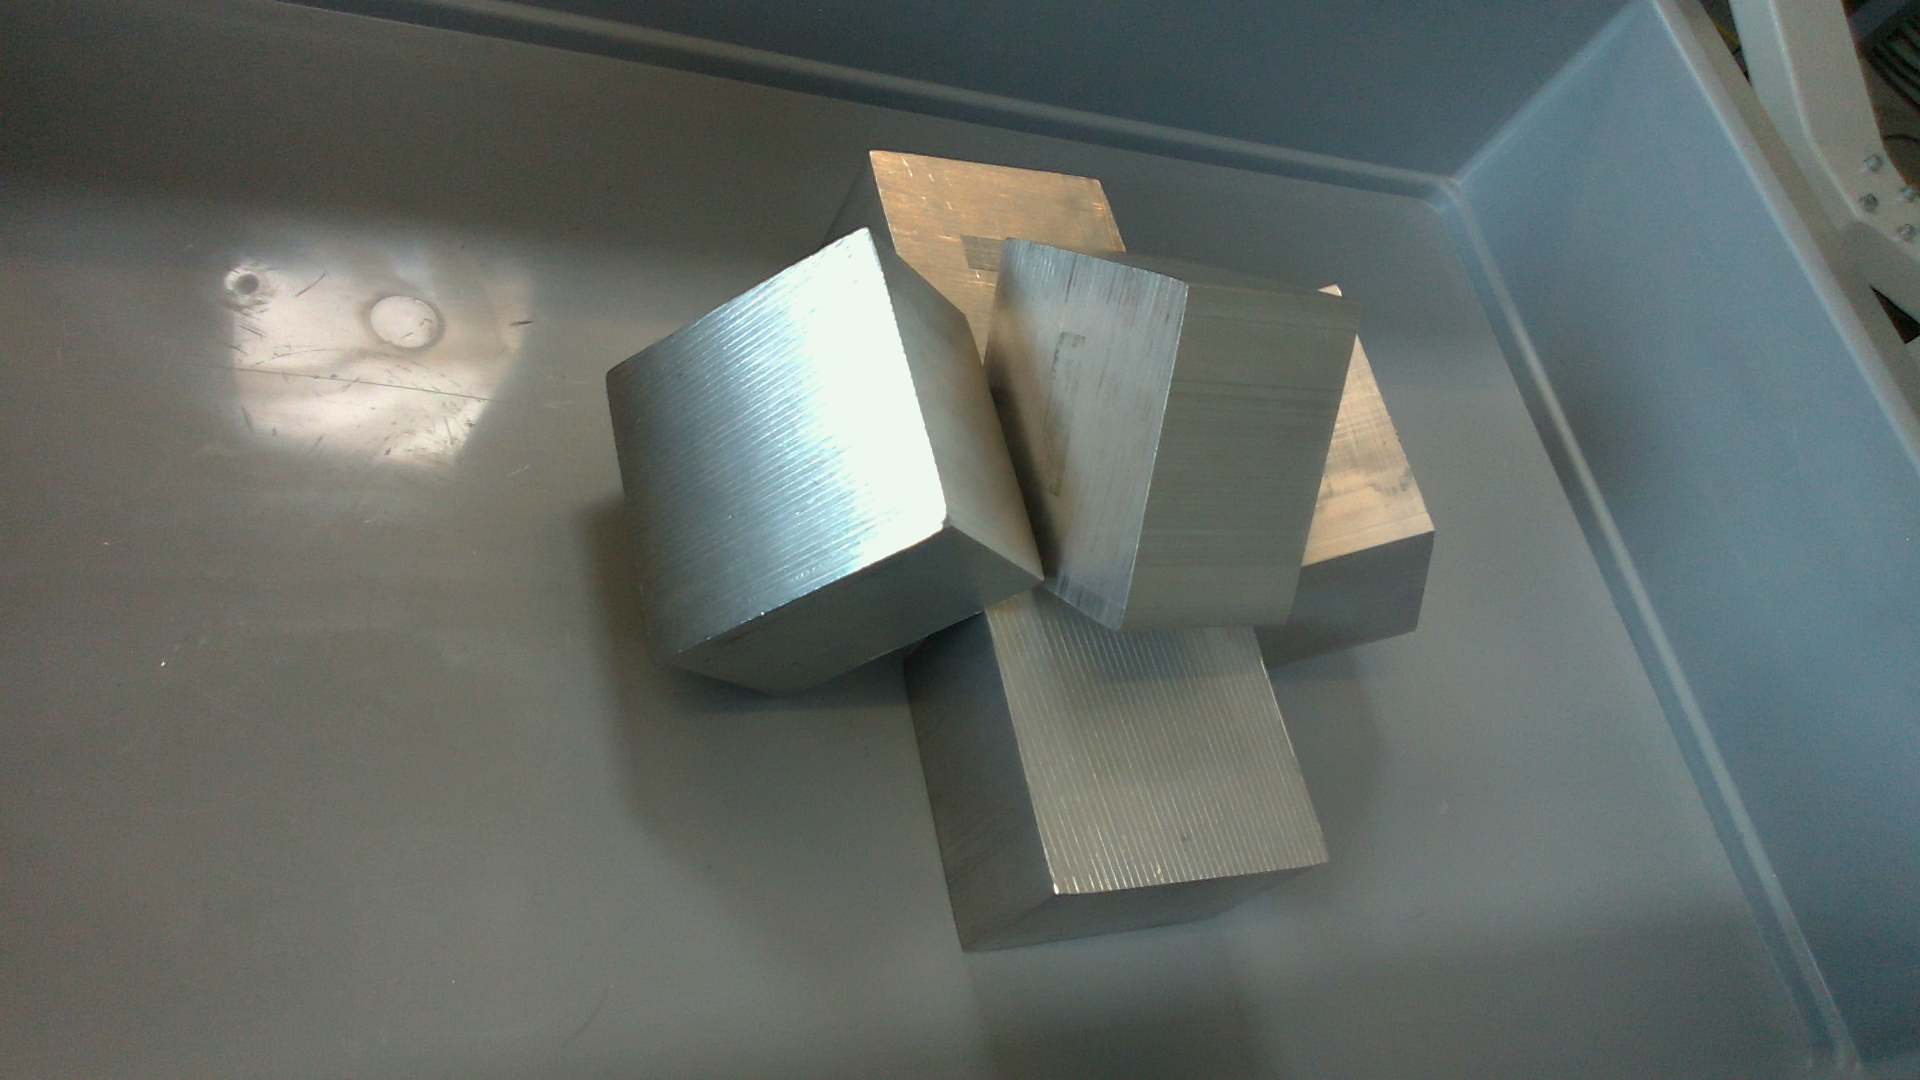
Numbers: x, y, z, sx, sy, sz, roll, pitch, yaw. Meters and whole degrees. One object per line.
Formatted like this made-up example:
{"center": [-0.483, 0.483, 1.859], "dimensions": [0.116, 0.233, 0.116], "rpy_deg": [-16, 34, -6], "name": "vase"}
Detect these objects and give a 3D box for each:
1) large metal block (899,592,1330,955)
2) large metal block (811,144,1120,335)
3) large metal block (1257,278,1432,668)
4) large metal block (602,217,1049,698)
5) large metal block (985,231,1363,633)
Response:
{"center": [0.038, 0.057, 0.358], "dimensions": [0.080, 0.050, 0.080], "rpy_deg": [1, 61, -28], "name": "large metal block"}
{"center": [0.007, -0.066, 0.414], "dimensions": [0.080, 0.050, 0.080], "rpy_deg": [-1, 62, -29], "name": "large metal block"}
{"center": [0.098, -0.016, 0.406], "dimensions": [0.050, 0.080, 0.080], "rpy_deg": [-16, 65, 7], "name": "large metal block"}
{"center": [-0.034, -0.017, 0.335], "dimensions": [0.050, 0.080, 0.080], "rpy_deg": [30, 40, -58], "name": "large metal block"}
{"center": [0.045, -0.029, 0.344], "dimensions": [0.050, 0.080, 0.080], "rpy_deg": [0, 18, -30], "name": "large metal block"}
